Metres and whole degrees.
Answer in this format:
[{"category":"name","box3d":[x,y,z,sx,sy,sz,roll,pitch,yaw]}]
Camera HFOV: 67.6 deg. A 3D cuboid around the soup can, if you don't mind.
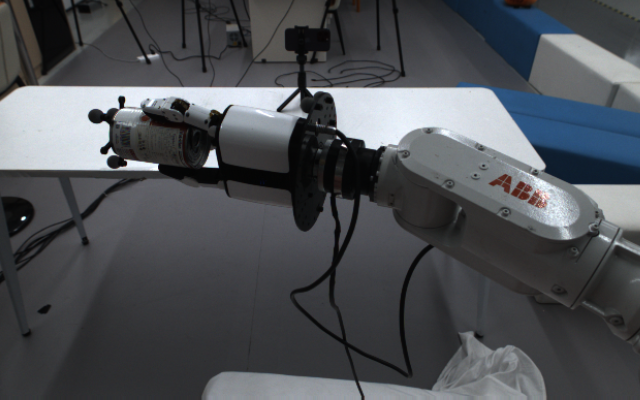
[{"category":"soup can","box3d":[-0.194,-0.076,0.599,0.101,0.067,0.067,8,35,10]}]
